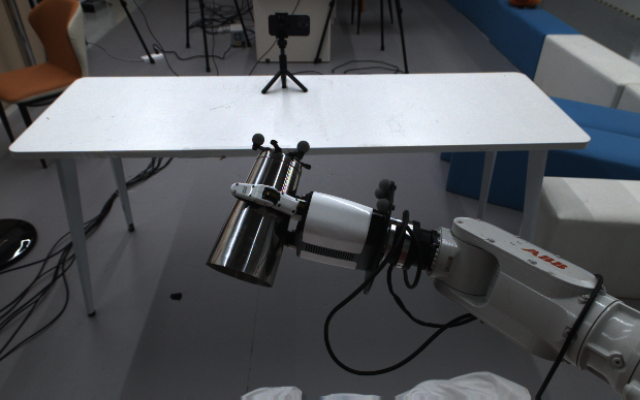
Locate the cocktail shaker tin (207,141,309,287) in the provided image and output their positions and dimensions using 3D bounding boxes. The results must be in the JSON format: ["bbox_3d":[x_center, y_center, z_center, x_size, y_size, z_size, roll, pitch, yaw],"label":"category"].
[{"bbox_3d":[-0.083,0.022,0.656,0.093,0.093,0.170,13,70,15],"label":"cocktail shaker tin"}]
